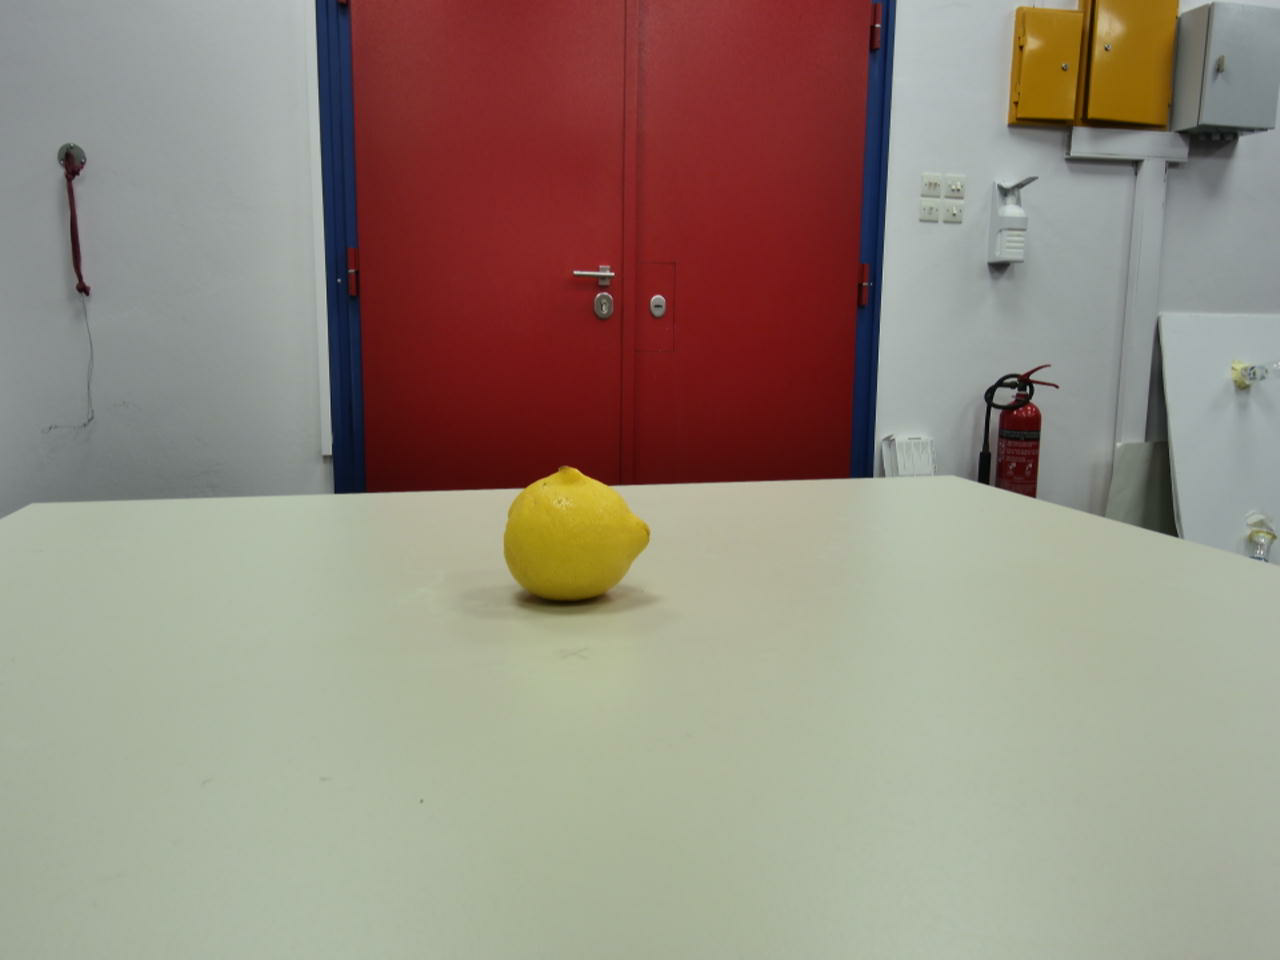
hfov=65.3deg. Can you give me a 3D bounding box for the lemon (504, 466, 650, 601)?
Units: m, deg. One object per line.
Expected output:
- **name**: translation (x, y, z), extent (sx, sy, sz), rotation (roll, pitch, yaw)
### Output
- **lemon**: translation (-0.038, 0.028, 0.532), extent (0.071, 0.071, 0.070), rotation (6, 9, 43)
